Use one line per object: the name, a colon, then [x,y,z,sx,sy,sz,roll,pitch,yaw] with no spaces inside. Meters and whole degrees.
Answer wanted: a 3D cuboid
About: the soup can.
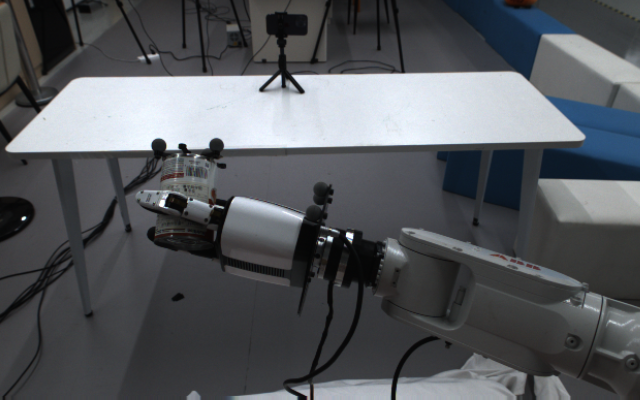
soup can: [-0.156,0.005,0.572,0.067,0.067,0.101,1,73,-2]
